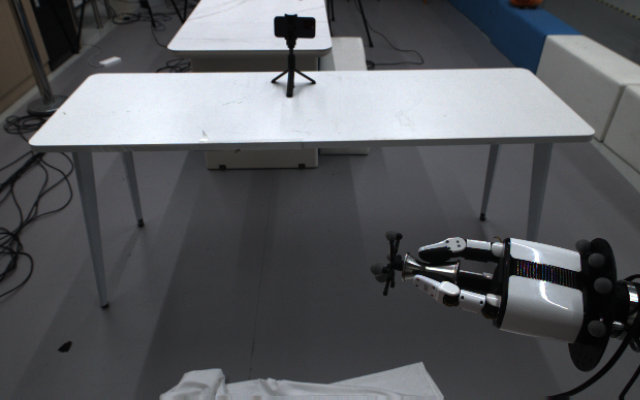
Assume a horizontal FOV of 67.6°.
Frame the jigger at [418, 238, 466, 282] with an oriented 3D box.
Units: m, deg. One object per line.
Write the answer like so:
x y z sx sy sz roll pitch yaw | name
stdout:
0.153 0.086 0.634 0.071 0.043 0.043 7 34 21 | jigger
